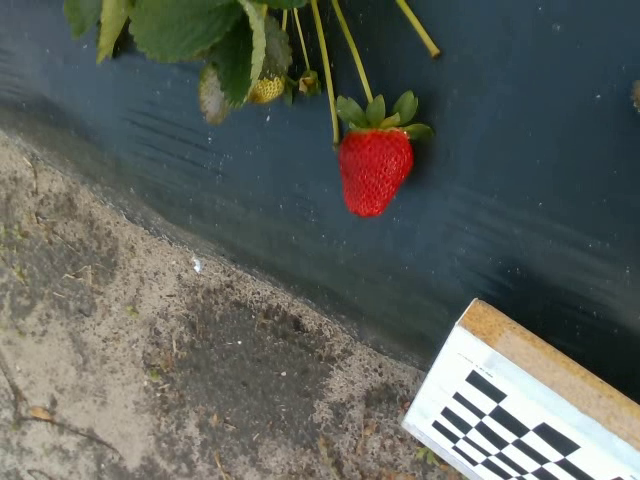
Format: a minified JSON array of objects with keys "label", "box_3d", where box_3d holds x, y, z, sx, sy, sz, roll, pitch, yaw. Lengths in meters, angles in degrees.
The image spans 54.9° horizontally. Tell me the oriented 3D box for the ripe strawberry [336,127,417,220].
[{"label":"ripe strawberry","box_3d":[0.027,-0.035,0.318,0.042,0.055,0.045,22,-8,-27]}]
